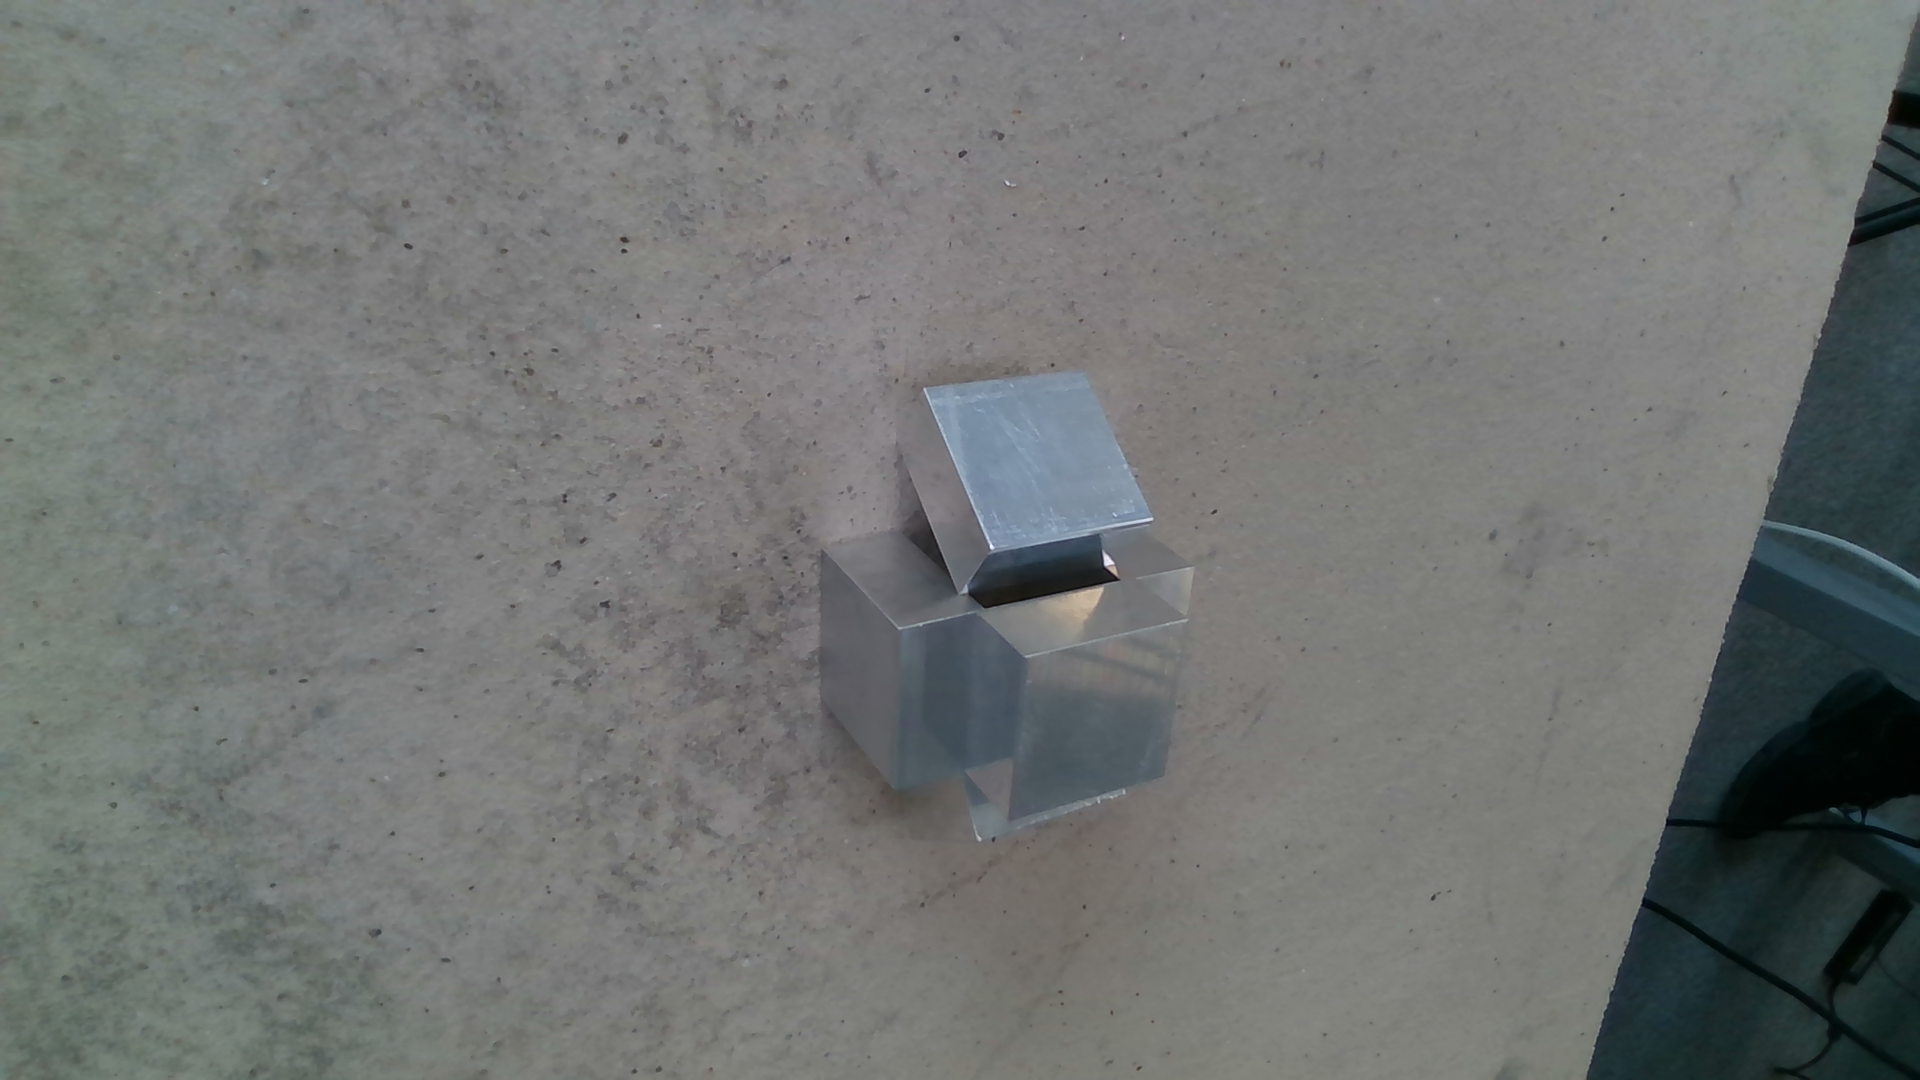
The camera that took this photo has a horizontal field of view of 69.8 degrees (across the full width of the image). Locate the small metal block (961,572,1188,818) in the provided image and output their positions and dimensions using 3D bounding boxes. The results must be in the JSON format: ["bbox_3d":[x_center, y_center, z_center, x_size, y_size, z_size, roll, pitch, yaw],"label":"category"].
[{"bbox_3d":[0.030,0.040,0.367,0.050,0.025,0.050,-11,120,-27],"label":"small metal block"}]

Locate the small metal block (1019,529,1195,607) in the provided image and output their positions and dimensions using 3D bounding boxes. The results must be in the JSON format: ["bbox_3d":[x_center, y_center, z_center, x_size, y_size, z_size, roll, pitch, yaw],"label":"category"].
[{"bbox_3d":[0.041,0.020,0.411,0.025,0.050,0.050,-10,120,-27],"label":"small metal block"}]

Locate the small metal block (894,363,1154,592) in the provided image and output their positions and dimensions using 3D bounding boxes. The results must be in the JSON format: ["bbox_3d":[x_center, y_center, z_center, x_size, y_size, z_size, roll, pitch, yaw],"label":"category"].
[{"bbox_3d":[0.017,-0.018,0.372,0.050,0.050,0.025,-10,155,-27],"label":"small metal block"}]

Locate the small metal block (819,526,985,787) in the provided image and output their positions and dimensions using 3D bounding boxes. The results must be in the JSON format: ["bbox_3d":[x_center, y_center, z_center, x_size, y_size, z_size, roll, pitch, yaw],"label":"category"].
[{"bbox_3d":[-0.018,0.031,0.381,0.025,0.050,0.050,-11,120,-26],"label":"small metal block"}]

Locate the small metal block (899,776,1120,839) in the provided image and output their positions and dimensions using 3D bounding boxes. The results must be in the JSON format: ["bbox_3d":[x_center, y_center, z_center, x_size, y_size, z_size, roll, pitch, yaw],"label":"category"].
[{"bbox_3d":[0.013,0.071,0.418,0.050,0.050,0.025,-12,85,-26],"label":"small metal block"}]
